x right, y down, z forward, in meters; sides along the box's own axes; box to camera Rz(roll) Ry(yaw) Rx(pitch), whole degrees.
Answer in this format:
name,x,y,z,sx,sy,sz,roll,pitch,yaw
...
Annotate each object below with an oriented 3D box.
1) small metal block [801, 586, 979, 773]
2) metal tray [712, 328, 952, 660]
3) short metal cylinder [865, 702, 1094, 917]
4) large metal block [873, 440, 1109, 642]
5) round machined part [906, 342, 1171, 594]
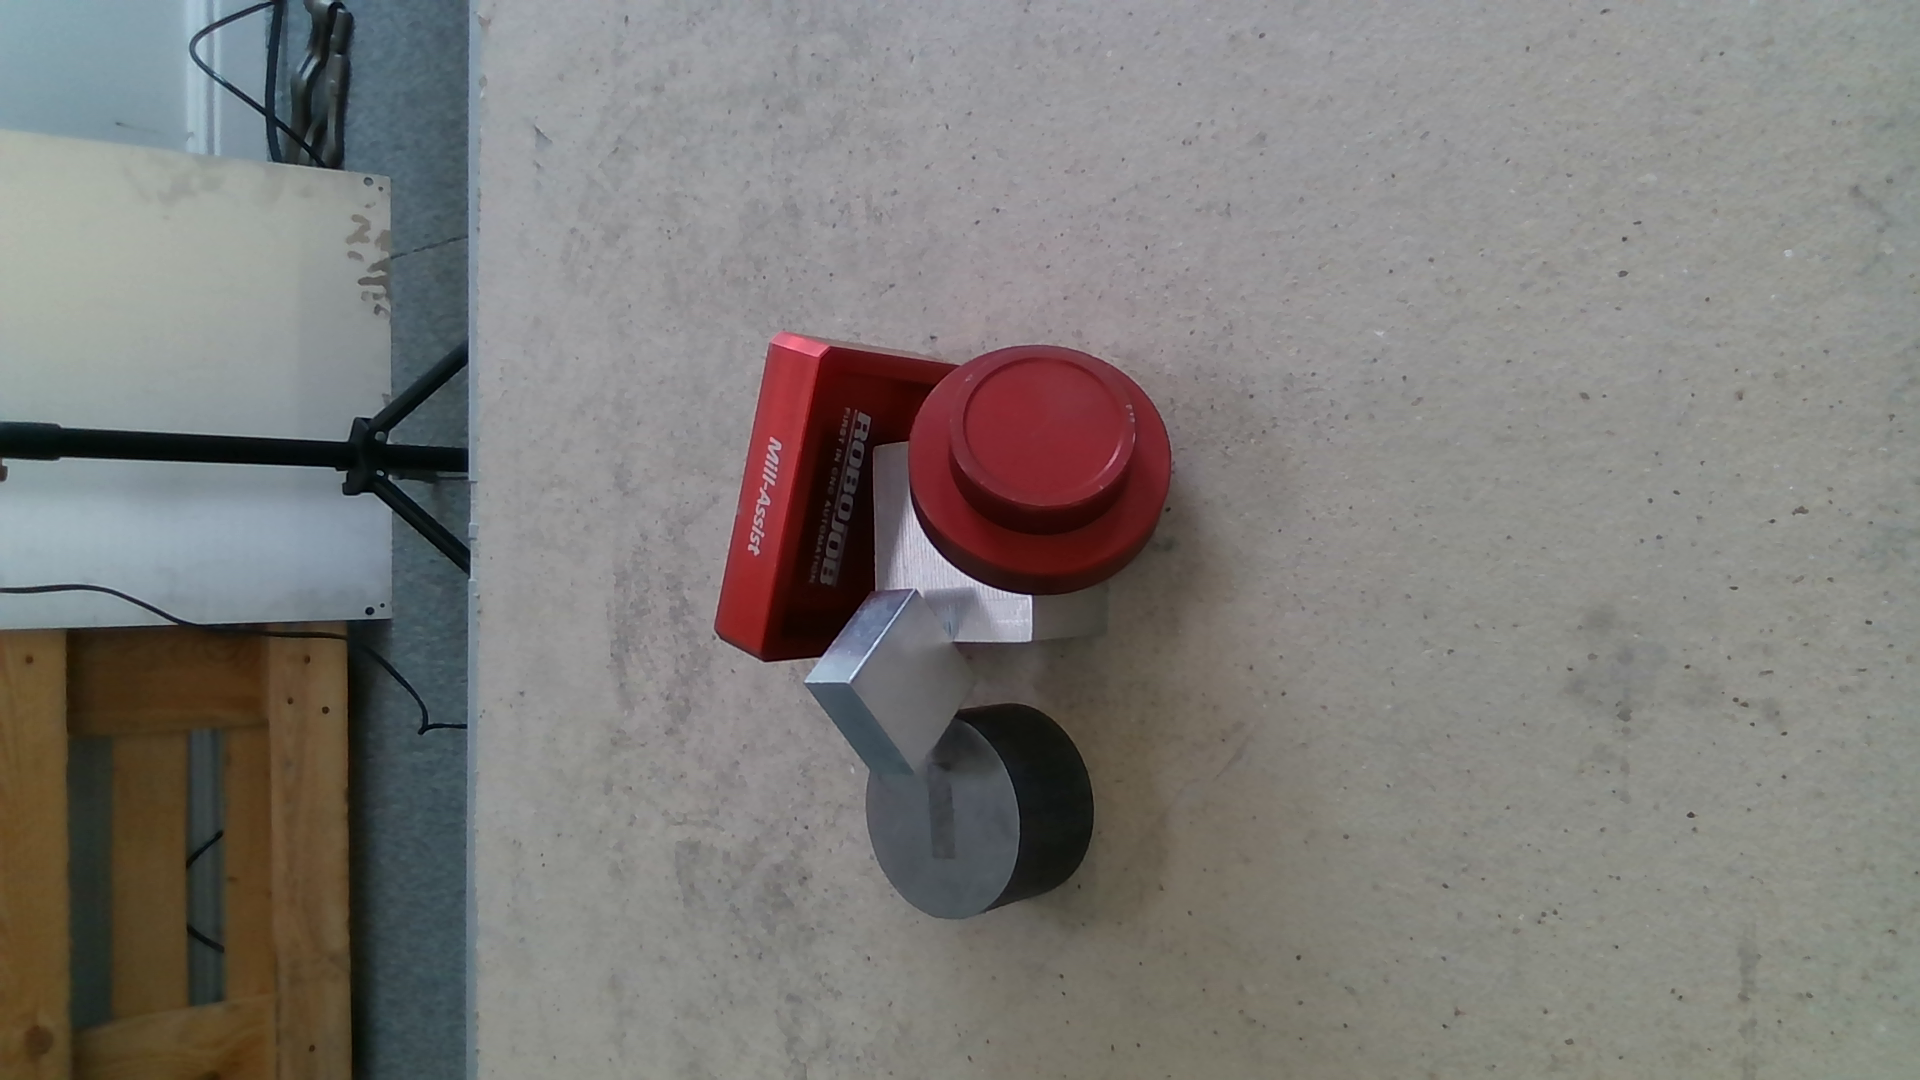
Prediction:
name,x,y,z,sx,sy,sz,roll,pitch,yaw
small metal block,-0.026,0.054,0.529,0.025,0.050,0.050,-5,128,42
metal tray,-0.050,-0.018,0.581,0.030,0.090,0.130,22,104,38
short metal cylinder,0.007,0.108,0.562,0.080,0.050,0.080,0,91,40
large metal block,0.012,-0.001,0.558,0.080,0.050,0.080,-2,89,40
round machined part,0.029,-0.033,0.509,0.098,0.098,0.042,60,168,22
